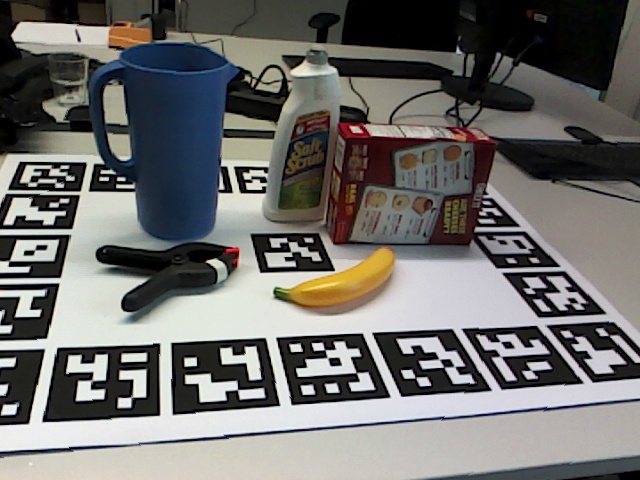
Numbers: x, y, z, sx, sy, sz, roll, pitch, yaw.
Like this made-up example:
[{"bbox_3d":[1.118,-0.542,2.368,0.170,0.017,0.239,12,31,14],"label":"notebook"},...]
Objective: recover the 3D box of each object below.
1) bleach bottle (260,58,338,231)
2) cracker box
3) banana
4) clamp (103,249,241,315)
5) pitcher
[{"bbox_3d":[-0.031,-0.138,0.910,0.102,0.250,0.068,-1,29,-14],"label":"bleach bottle"},{"bbox_3d":[0.133,-0.079,0.896,0.213,0.164,0.072,-1,27,-11],"label":"cracker box"},{"bbox_3d":[0.043,0.056,0.807,0.075,0.039,0.196,28,35,35],"label":"banana"},{"bbox_3d":[-0.174,0.041,0.772,0.164,0.036,0.123,-9,31,-29],"label":"clamp"},{"bbox_3d":[-0.201,-0.132,0.823,0.188,0.242,0.134,-9,32,-32],"label":"pitcher"}]
